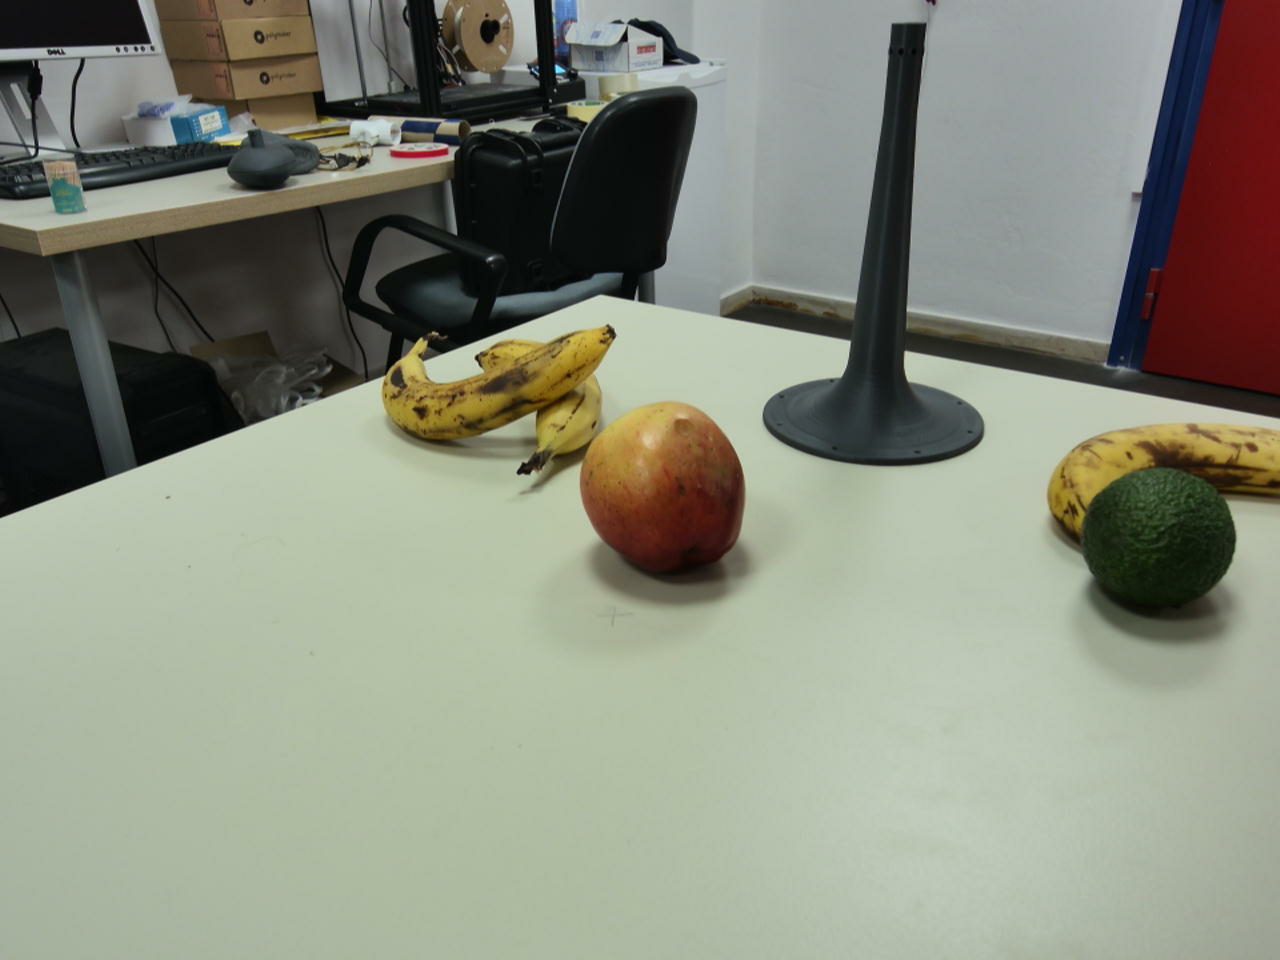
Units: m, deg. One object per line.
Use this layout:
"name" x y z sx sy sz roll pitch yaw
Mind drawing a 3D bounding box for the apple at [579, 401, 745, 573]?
"apple" 0.012 0.002 0.524 0.086 0.084 0.093 0 24 1
